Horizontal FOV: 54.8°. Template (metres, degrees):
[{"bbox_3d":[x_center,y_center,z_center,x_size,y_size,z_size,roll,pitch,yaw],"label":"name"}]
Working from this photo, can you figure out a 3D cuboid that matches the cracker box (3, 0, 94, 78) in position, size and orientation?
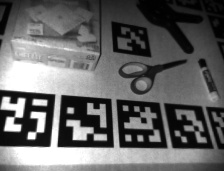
[{"bbox_3d":[-0.123,-0.127,0.458,0.165,0.072,0.212,5,61,-16],"label":"cracker box"}]

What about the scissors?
[{"bbox_3d":[0.100,-0.030,0.509,0.205,0.016,0.087,-24,71,-30],"label":"scissors"}]

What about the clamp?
[{"bbox_3d":[0.134,-0.191,0.614,0.203,0.036,0.166,30,56,-1],"label":"clamp"}]

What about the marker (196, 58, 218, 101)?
[{"bbox_3d":[0.238,-0.018,0.547,0.020,0.019,0.120,0,62,-17],"label":"marker"}]
